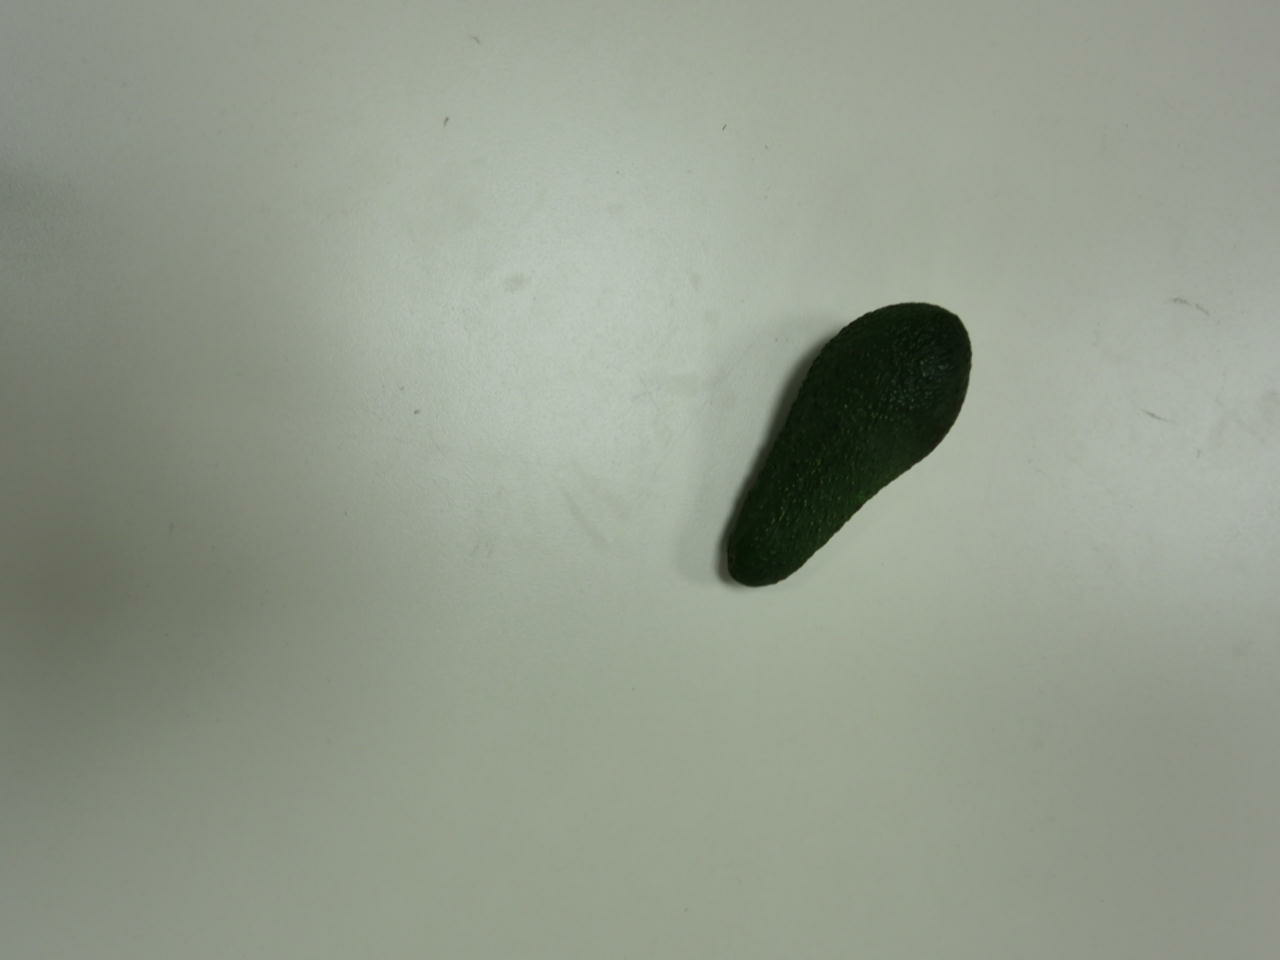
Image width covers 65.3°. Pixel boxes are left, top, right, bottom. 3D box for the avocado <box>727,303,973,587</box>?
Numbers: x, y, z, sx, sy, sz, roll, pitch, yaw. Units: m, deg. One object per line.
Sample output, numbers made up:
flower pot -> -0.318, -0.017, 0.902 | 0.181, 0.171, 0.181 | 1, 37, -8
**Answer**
avocado -> 0.090, -0.011, 0.417 | 0.063, 0.067, 0.141 | 26, 85, -10
